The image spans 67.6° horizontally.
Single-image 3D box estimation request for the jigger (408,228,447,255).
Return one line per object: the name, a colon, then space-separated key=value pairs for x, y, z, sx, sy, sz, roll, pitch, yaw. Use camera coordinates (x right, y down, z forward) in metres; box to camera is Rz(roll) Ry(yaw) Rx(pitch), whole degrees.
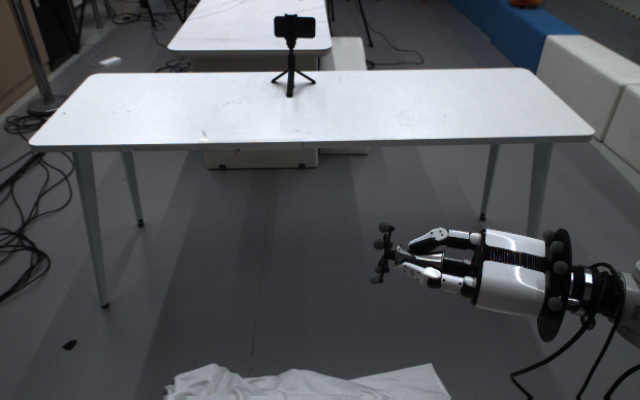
jigger: x=0.154 y=0.086 z=0.720 sx=0.071 sy=0.043 sz=0.043 roll=9 pitch=35 yaw=17
